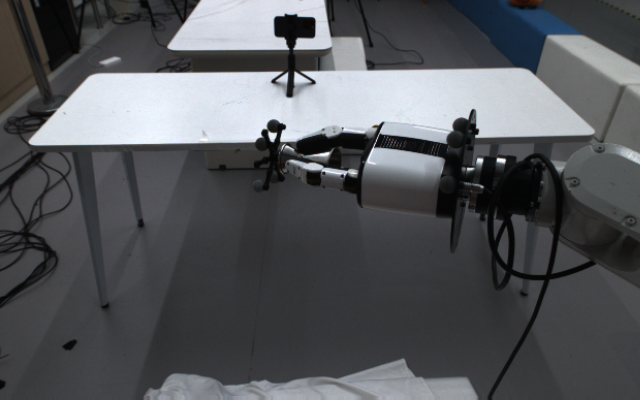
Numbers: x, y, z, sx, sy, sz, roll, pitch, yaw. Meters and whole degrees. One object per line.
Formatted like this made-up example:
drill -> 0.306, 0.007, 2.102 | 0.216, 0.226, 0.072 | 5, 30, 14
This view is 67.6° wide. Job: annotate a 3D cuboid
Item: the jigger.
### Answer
jigger -> -0.010, -0.051, 0.600 | 0.071, 0.043, 0.043 | 9, 35, 21
